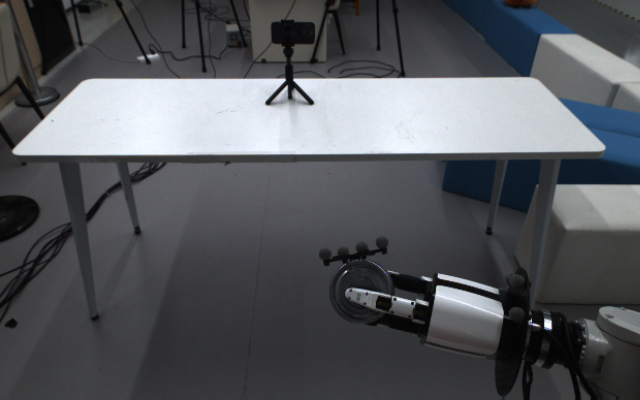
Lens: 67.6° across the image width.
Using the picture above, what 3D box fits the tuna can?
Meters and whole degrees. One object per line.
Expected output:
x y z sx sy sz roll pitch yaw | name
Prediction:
0.059 0.120 0.646 0.085 0.085 0.034 12 -6 14 | tuna can
